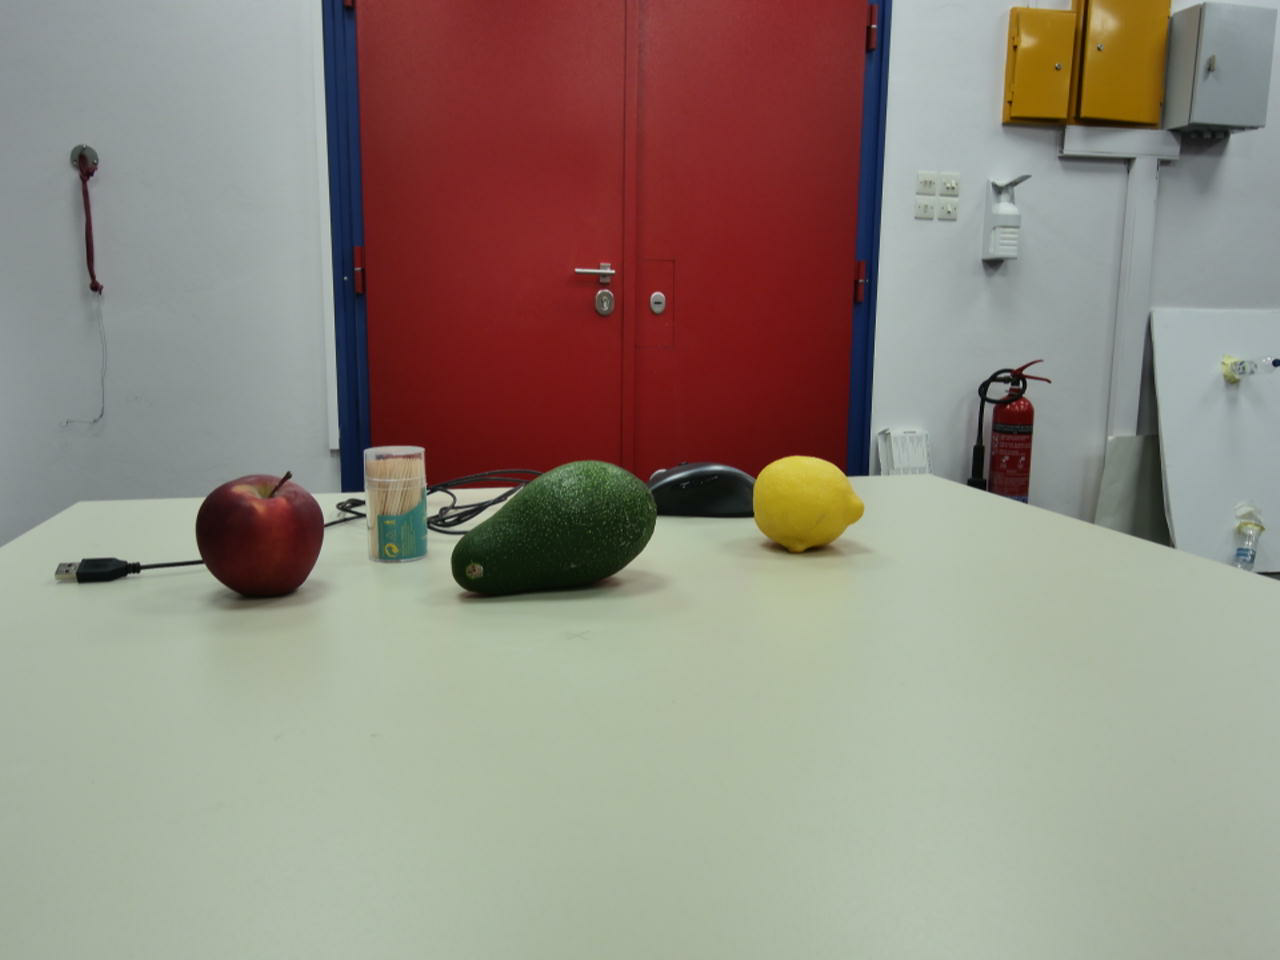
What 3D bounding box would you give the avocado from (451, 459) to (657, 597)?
[{"bbox_3d":[-0.050,0.026,0.603,0.123,0.076,0.074,-1,8,-7],"label":"avocado"}]
